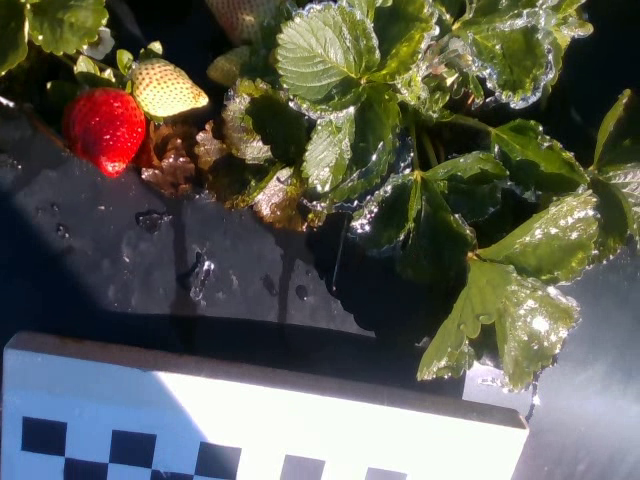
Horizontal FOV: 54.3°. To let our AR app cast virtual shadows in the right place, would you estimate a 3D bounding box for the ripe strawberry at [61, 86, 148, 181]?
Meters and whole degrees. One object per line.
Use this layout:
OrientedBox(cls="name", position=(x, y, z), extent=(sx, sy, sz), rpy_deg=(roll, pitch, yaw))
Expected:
OrientedBox(cls="ripe strawberry", position=(-0.096, -0.045, 0.278), extent=(0.040, 0.053, 0.042), rpy_deg=(-25, -41, 4))
